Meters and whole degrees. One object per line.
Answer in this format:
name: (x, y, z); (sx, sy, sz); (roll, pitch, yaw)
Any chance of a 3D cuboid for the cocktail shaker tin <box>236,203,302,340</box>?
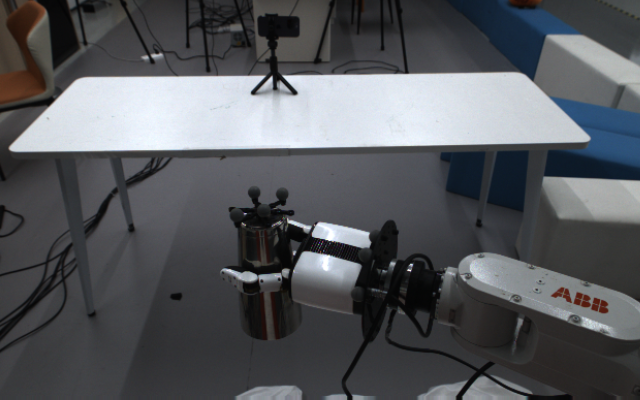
cocktail shaker tin: (-0.072, 0.098, 0.677); (0.093, 0.170, 0.093); (-2, 26, 1)
